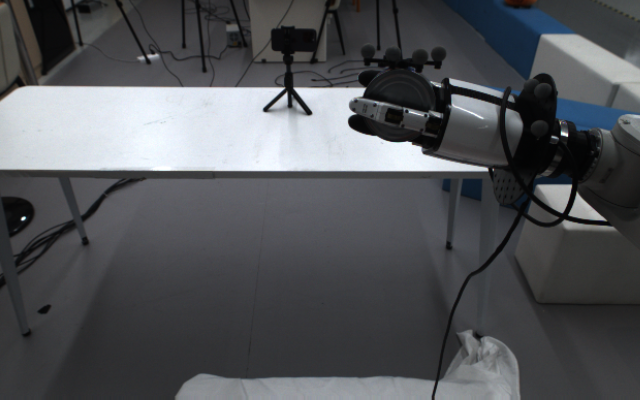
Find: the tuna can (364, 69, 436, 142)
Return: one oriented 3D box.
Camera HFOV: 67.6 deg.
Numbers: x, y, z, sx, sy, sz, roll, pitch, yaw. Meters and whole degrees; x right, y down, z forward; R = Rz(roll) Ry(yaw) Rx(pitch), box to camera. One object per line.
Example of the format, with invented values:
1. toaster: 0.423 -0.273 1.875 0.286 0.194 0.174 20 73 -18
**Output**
1. tuna can: 0.094 -0.116 0.577 0.085 0.085 0.034 9 24 10
